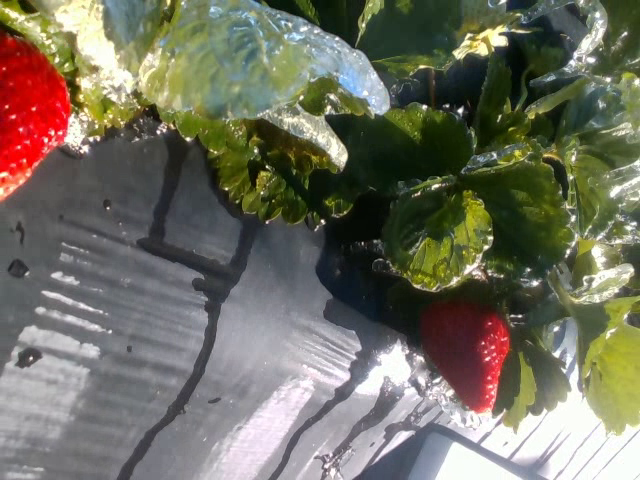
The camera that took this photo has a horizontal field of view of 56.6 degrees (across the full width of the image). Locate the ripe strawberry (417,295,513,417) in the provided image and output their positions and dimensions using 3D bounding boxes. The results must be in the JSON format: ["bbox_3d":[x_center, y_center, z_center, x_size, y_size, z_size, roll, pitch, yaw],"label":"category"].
[{"bbox_3d":[0.064,0.052,0.248,0.041,0.053,0.047,28,-46,-33],"label":"ripe strawberry"}]
